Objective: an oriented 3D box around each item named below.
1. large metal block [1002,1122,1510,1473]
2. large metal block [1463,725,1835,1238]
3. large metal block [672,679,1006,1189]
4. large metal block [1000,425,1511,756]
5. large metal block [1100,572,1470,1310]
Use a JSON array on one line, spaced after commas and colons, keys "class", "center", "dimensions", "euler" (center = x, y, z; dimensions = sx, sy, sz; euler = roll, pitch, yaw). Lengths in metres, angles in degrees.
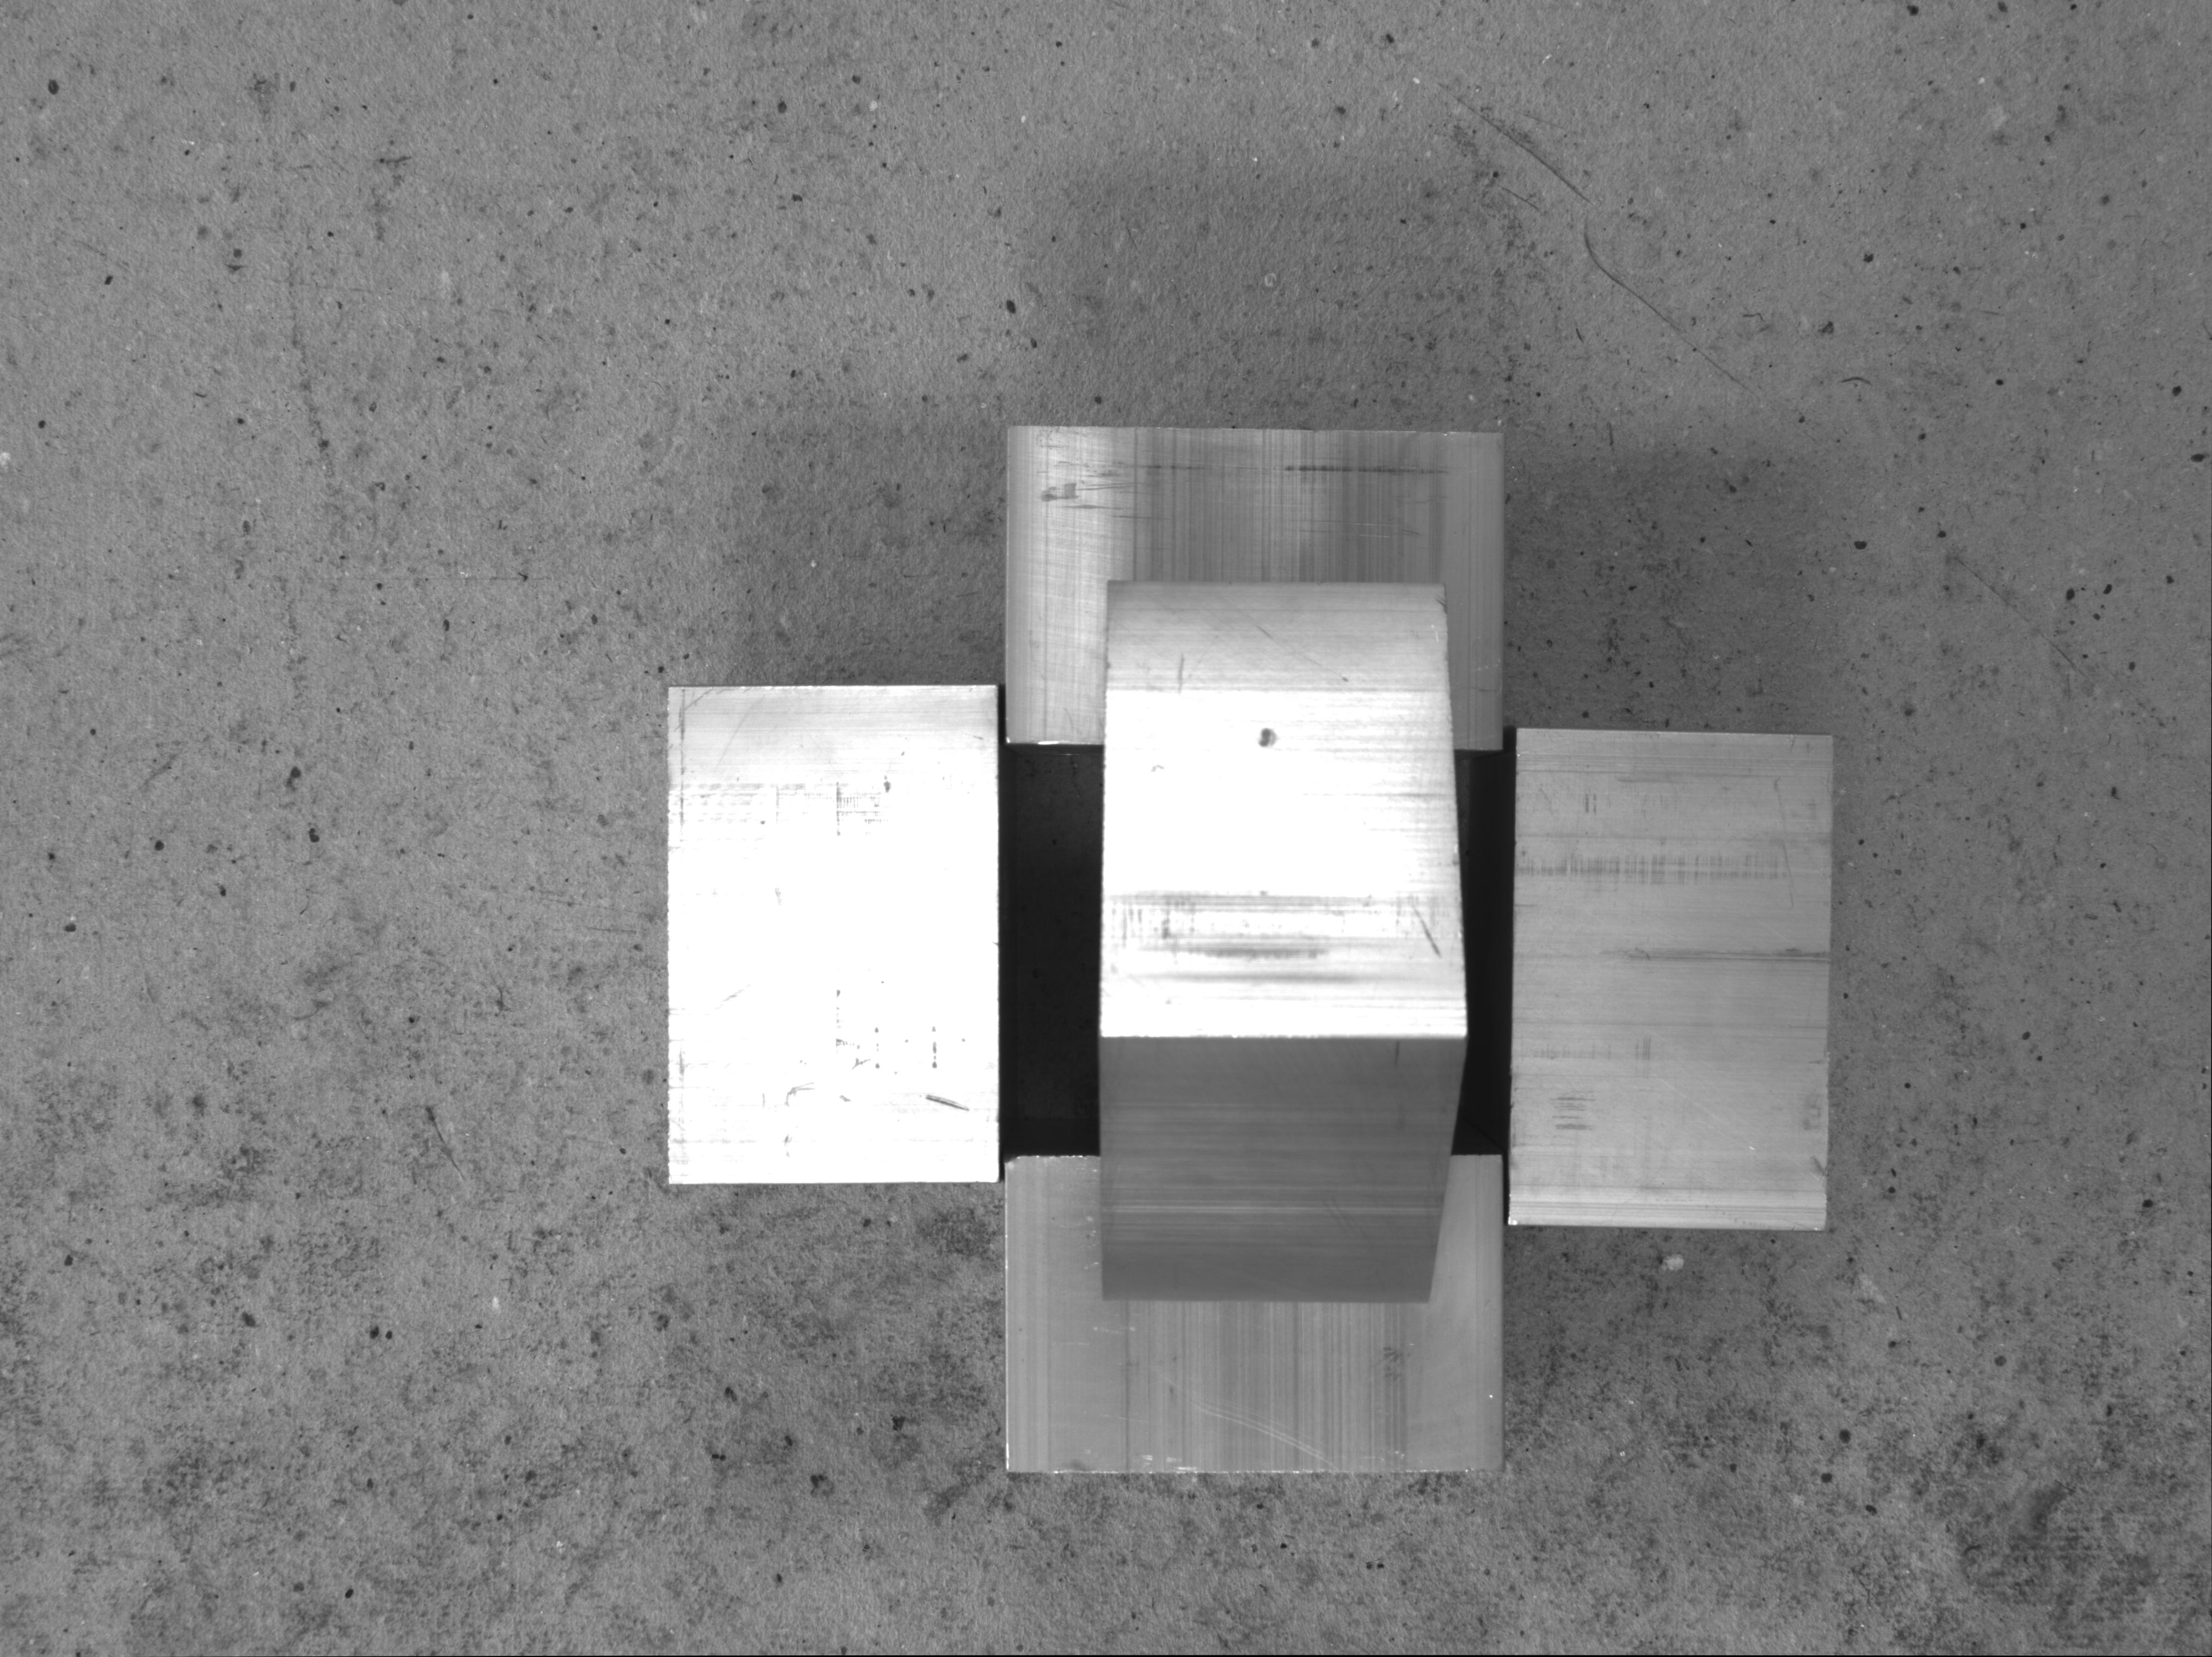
[{"class": "large metal block", "center": [0.024, 0.077, 0.618], "dimensions": [0.080, 0.080, 0.050], "euler": [0, 90, 0]}, {"class": "large metal block", "center": [0.089, 0.024, 0.618], "dimensions": [0.050, 0.080, 0.080], "euler": [1, 90, 0]}, {"class": "large metal block", "center": [-0.043, 0.017, 0.617], "dimensions": [0.050, 0.080, 0.080], "euler": [0, 90, 0]}, {"class": "large metal block", "center": [0.024, -0.038, 0.618], "dimensions": [0.080, 0.080, 0.050], "euler": [1, 90, 0]}, {"class": "large metal block", "center": [0.025, 0.018, 0.553], "dimensions": [0.050, 0.080, 0.080], "euler": [1, 56, 0]}]
